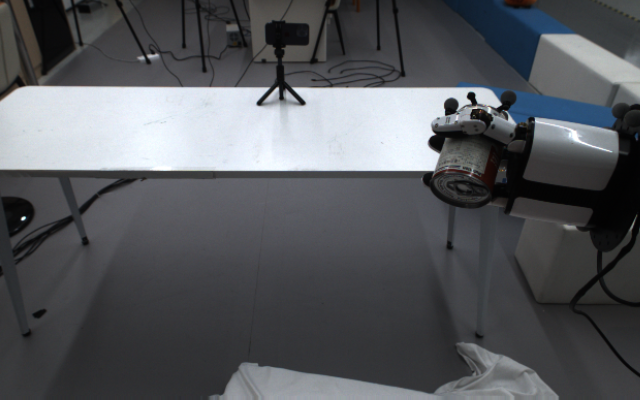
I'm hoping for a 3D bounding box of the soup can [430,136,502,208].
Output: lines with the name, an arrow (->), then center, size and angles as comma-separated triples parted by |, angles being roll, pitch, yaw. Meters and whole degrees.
soup can -> 0.173, -0.053, 0.557 | 0.067, 0.067, 0.101 | 15, 64, 18
